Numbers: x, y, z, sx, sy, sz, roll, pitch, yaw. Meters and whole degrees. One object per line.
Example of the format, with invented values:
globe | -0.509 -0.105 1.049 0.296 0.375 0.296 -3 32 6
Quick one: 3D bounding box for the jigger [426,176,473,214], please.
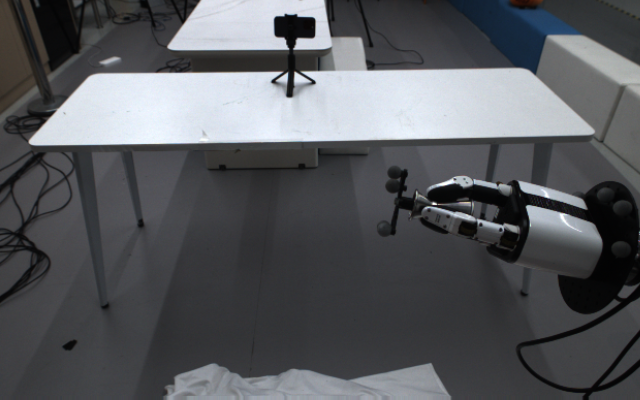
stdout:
jigger | 0.151 0.010 0.580 0.071 0.043 0.043 12 36 5
